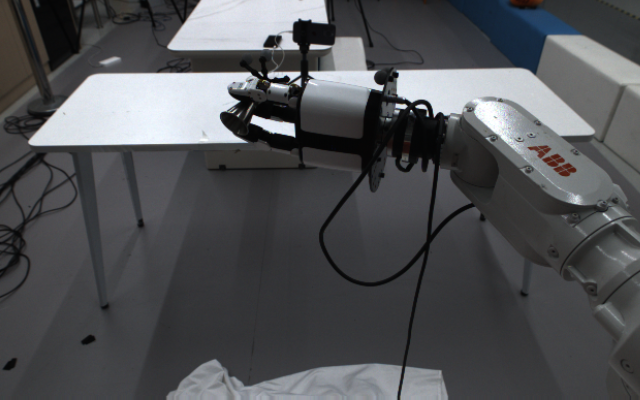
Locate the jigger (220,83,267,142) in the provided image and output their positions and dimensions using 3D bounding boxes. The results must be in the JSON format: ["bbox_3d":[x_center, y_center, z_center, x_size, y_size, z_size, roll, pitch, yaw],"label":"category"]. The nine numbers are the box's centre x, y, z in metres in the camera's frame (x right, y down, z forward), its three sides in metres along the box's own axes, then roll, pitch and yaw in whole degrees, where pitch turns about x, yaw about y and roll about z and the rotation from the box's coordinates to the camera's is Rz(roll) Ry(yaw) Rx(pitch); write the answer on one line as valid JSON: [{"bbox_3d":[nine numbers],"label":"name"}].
[{"bbox_3d":[-0.100,-0.131,0.655,0.043,0.043,0.071,19,61,23],"label":"jigger"}]
